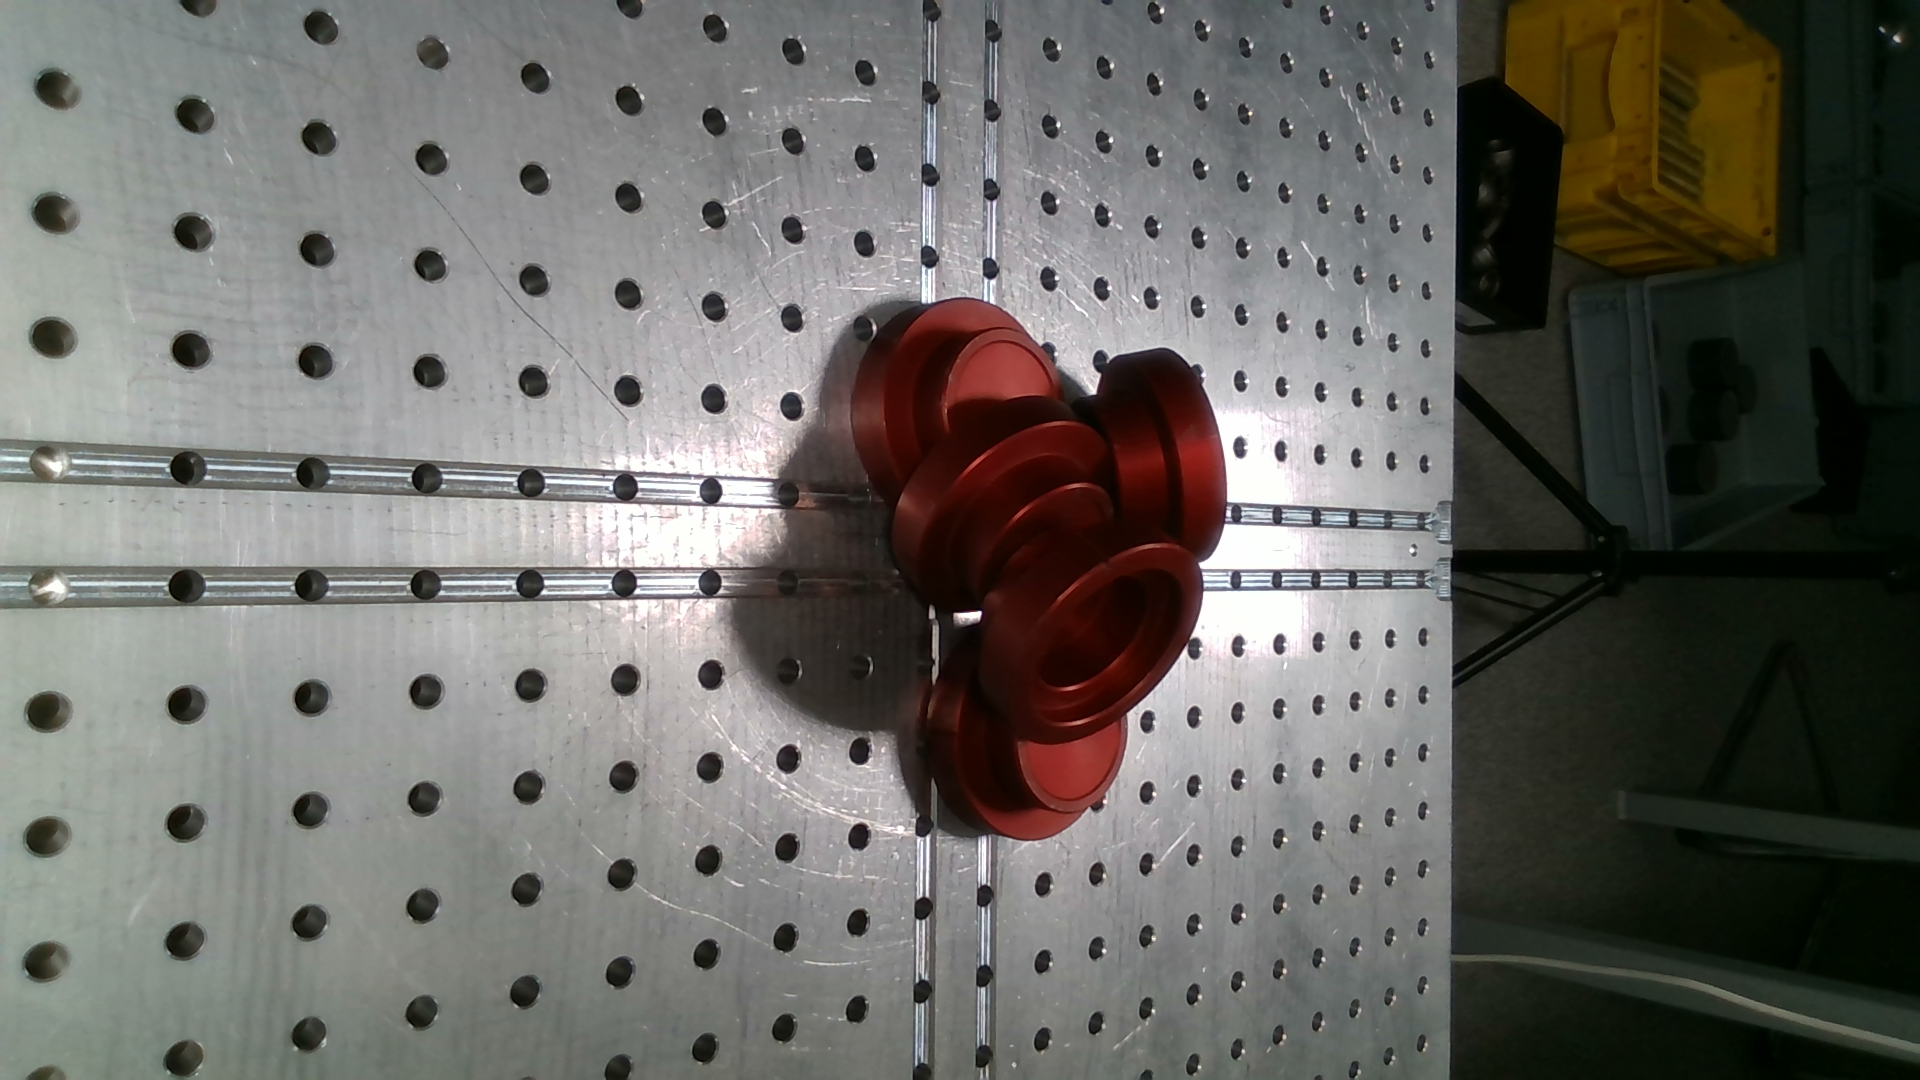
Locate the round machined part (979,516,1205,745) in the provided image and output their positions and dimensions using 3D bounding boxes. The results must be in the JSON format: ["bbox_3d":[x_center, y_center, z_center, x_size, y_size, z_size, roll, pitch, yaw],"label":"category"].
[{"bbox_3d":[0.047,0.031,0.553,0.098,0.042,0.098,-24,136,-25],"label":"round machined part"}]

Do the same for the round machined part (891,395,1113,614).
[{"bbox_3d":[0.024,-0.007,0.564,0.098,0.042,0.098,-26,141,-23],"label":"round machined part"}]

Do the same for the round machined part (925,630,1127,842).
[{"bbox_3d":[0.035,0.084,0.605,0.098,0.042,0.098,0,90,-40],"label":"round machined part"}]

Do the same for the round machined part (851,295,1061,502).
[{"bbox_3d":[0.006,-0.054,0.580,0.098,0.042,0.098,0,90,-40],"label":"round machined part"}]

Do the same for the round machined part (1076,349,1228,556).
[{"bbox_3d":[0.077,-0.034,0.610,0.042,0.098,0.098,-12,98,-14],"label":"round machined part"}]
